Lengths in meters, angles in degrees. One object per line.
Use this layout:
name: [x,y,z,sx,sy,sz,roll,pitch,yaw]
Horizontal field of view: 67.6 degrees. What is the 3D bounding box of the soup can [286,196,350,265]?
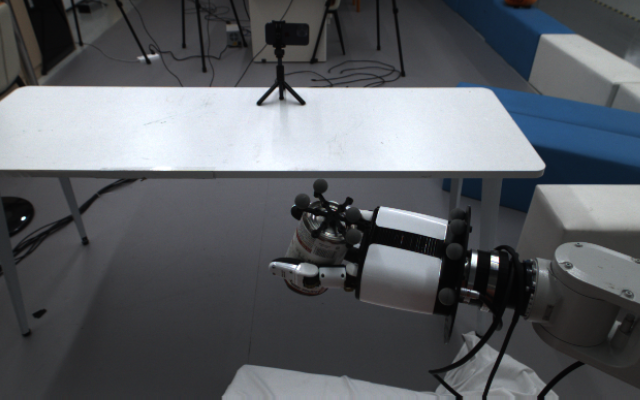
soup can: [-0.001,0.059,0.584,0.067,0.101,0.067,14,39,-12]
